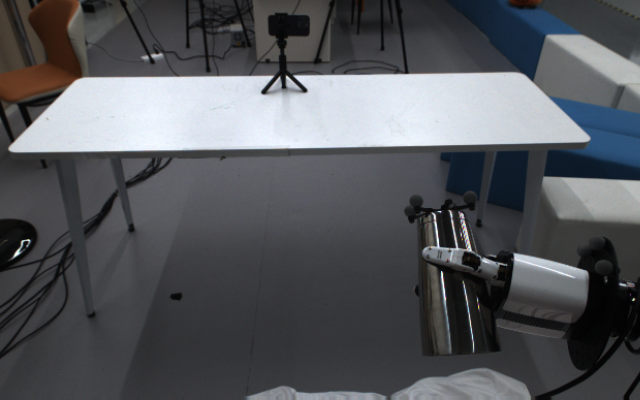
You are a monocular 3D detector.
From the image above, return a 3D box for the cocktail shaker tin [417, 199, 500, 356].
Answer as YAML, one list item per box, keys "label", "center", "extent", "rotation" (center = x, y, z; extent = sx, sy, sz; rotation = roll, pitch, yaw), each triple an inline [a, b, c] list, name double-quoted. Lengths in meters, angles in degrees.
- label: "cocktail shaker tin"
  center: [0.164, 0.103, 0.601]
  extent: [0.093, 0.093, 0.170]
  rotation: [-2, 70, -5]
